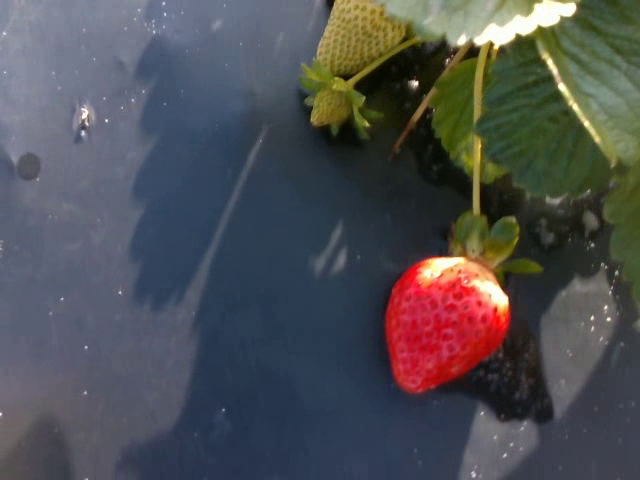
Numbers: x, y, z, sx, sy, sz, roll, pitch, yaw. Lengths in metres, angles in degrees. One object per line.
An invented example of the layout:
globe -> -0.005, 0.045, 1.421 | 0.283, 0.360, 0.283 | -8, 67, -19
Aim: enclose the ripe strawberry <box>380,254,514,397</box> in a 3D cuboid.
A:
ripe strawberry -> 0.031, 0.025, 0.163 | 0.030, 0.045, 0.033 | 27, -14, 46
